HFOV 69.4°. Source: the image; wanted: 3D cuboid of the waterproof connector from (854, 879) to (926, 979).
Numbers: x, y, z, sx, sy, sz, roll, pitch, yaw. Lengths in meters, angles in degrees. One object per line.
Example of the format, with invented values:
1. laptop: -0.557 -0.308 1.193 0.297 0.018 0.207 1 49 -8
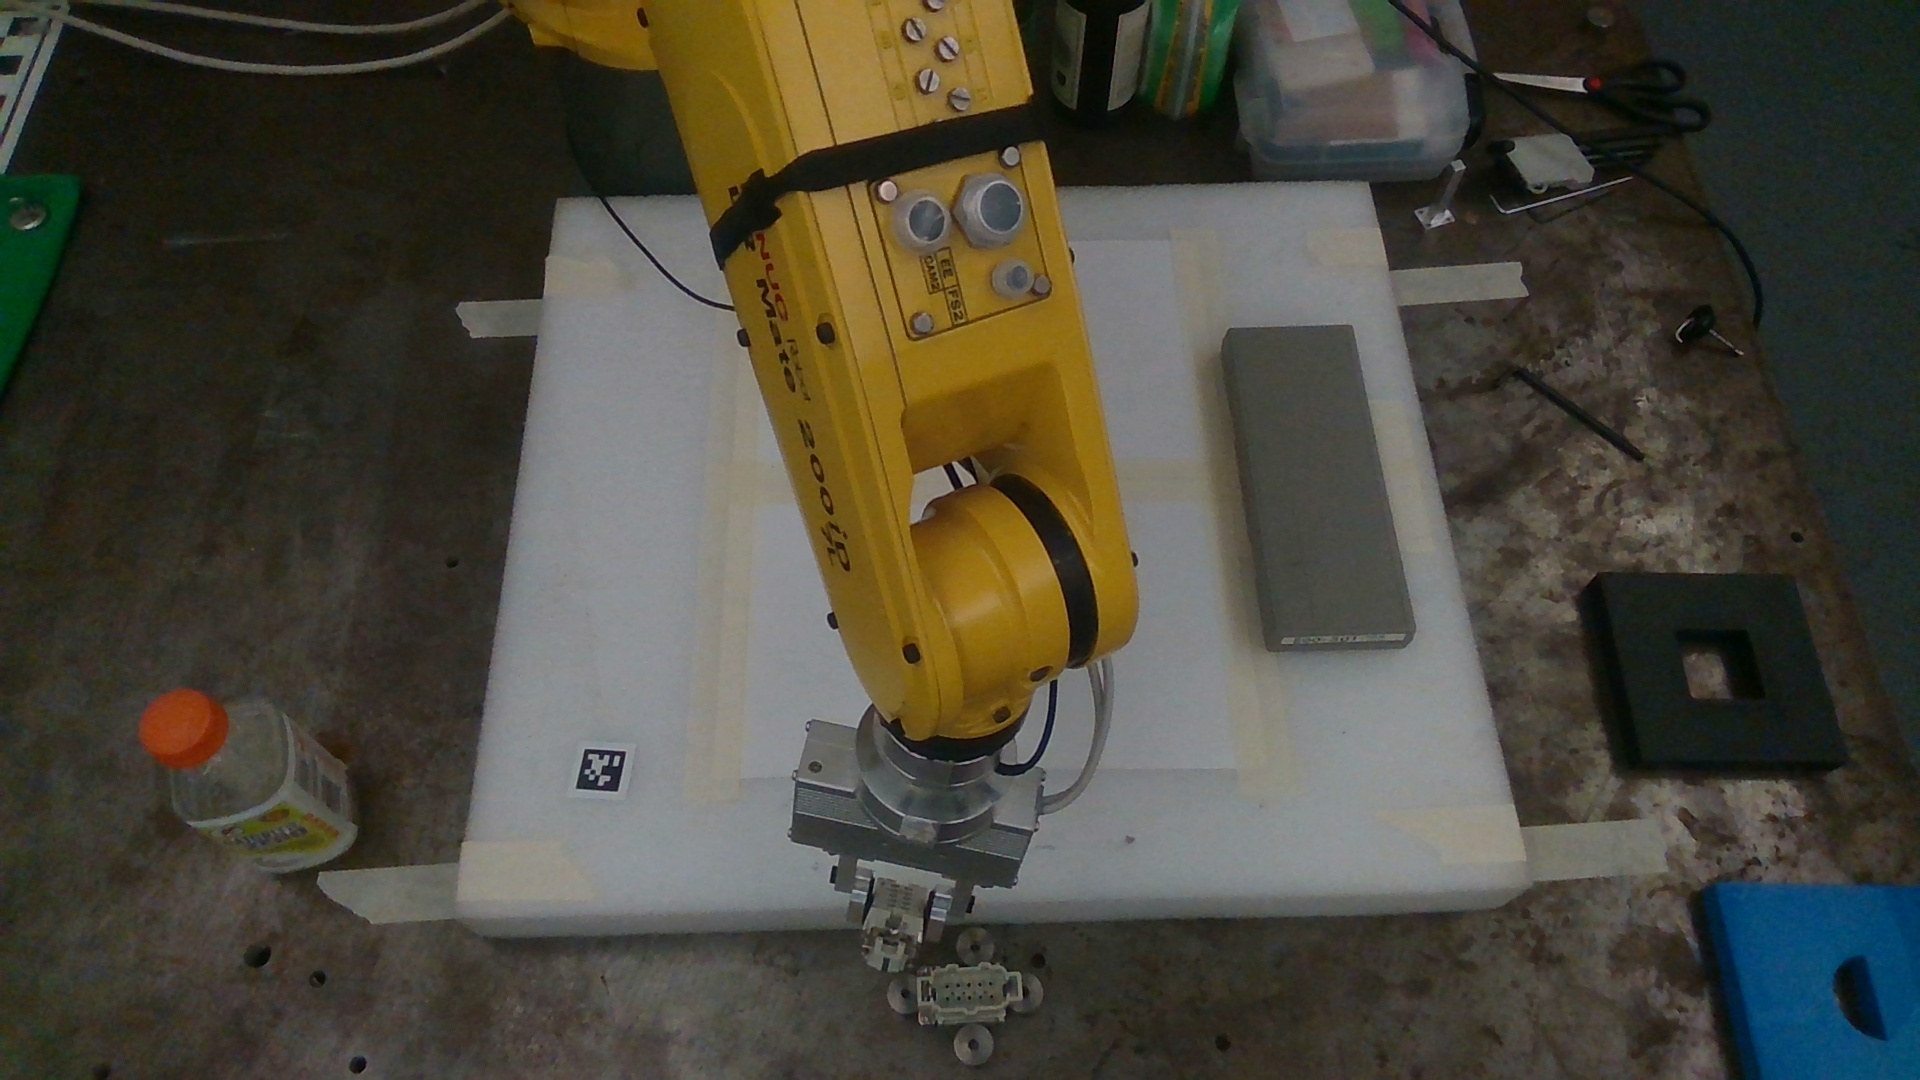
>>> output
1. waterproof connector: -0.041 0.223 0.795 0.037 0.069 0.038 13 97 -1
